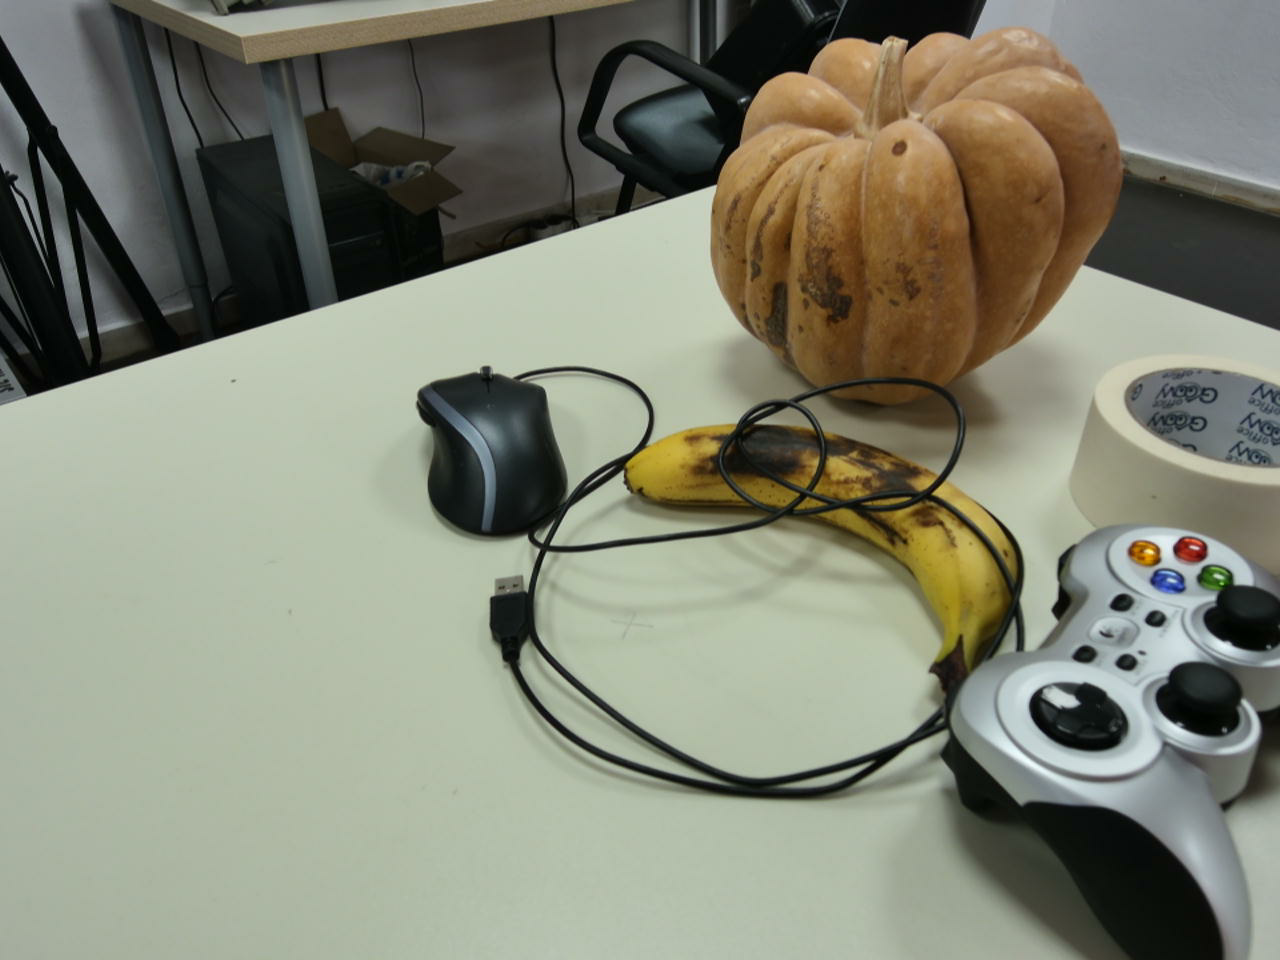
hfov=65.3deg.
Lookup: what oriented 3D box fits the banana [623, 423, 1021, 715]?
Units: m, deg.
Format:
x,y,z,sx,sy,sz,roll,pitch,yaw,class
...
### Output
x,y,z,sx,sy,sz,roll,pitch,yaw,class
0.084,0.017,0.426,0.094,0.039,0.187,-25,41,-31,banana
